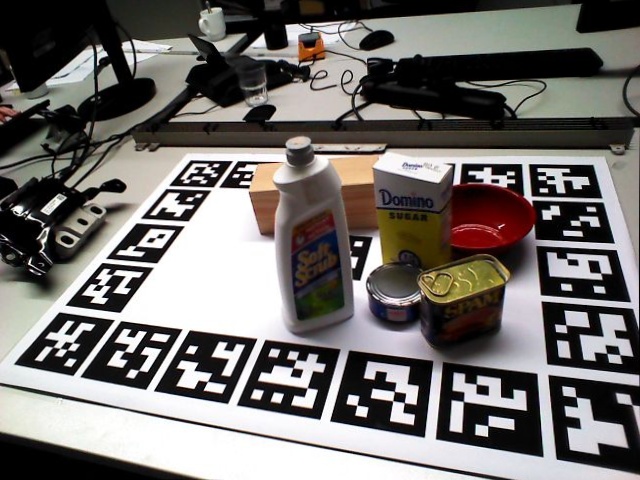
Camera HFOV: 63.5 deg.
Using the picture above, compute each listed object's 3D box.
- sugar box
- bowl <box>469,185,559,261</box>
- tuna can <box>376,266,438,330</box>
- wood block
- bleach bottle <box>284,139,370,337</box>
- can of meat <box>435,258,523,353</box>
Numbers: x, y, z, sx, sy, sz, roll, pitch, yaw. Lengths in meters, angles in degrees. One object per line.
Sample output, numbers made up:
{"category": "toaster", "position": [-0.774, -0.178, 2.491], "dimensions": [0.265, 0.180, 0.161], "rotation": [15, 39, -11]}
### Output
{"category": "sugar box", "position": [0.144, -0.018, 0.666], "dimensions": [0.093, 0.177, 0.045], "rotation": [16, 46, 36]}
{"category": "bowl", "position": [0.251, -0.015, 0.740], "dimensions": [0.162, 0.055, 0.161], "rotation": [-10, 35, 7]}
{"category": "tuna can", "position": [0.117, 0.074, 0.669], "dimensions": [0.086, 0.034, 0.085], "rotation": [-8, 39, 6]}
{"category": "wood block", "position": [0.013, -0.065, 0.843], "dimensions": [0.207, 0.090, 0.090], "rotation": [-3, 42, 9]}
{"category": "bleach bottle", "position": [0.000, 0.002, 0.619], "dimensions": [0.103, 0.251, 0.067], "rotation": [-13, 36, -3]}
{"category": "can of meat", "position": [0.190, 0.079, 0.614], "dimensions": [0.102, 0.084, 0.057], "rotation": [-15, 34, -8]}
